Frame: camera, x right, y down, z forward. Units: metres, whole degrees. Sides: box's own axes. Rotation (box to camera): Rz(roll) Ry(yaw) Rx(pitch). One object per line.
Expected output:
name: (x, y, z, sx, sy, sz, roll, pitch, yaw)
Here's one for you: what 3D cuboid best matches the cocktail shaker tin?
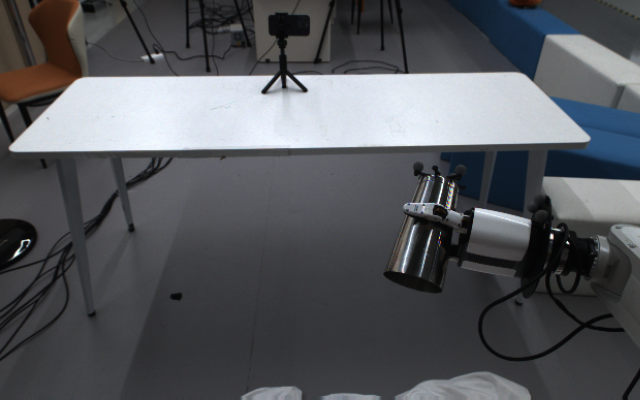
cocktail shaker tin: (0.165, 0.048, 0.761, 0.093, 0.093, 0.170, 14, 69, 17)
